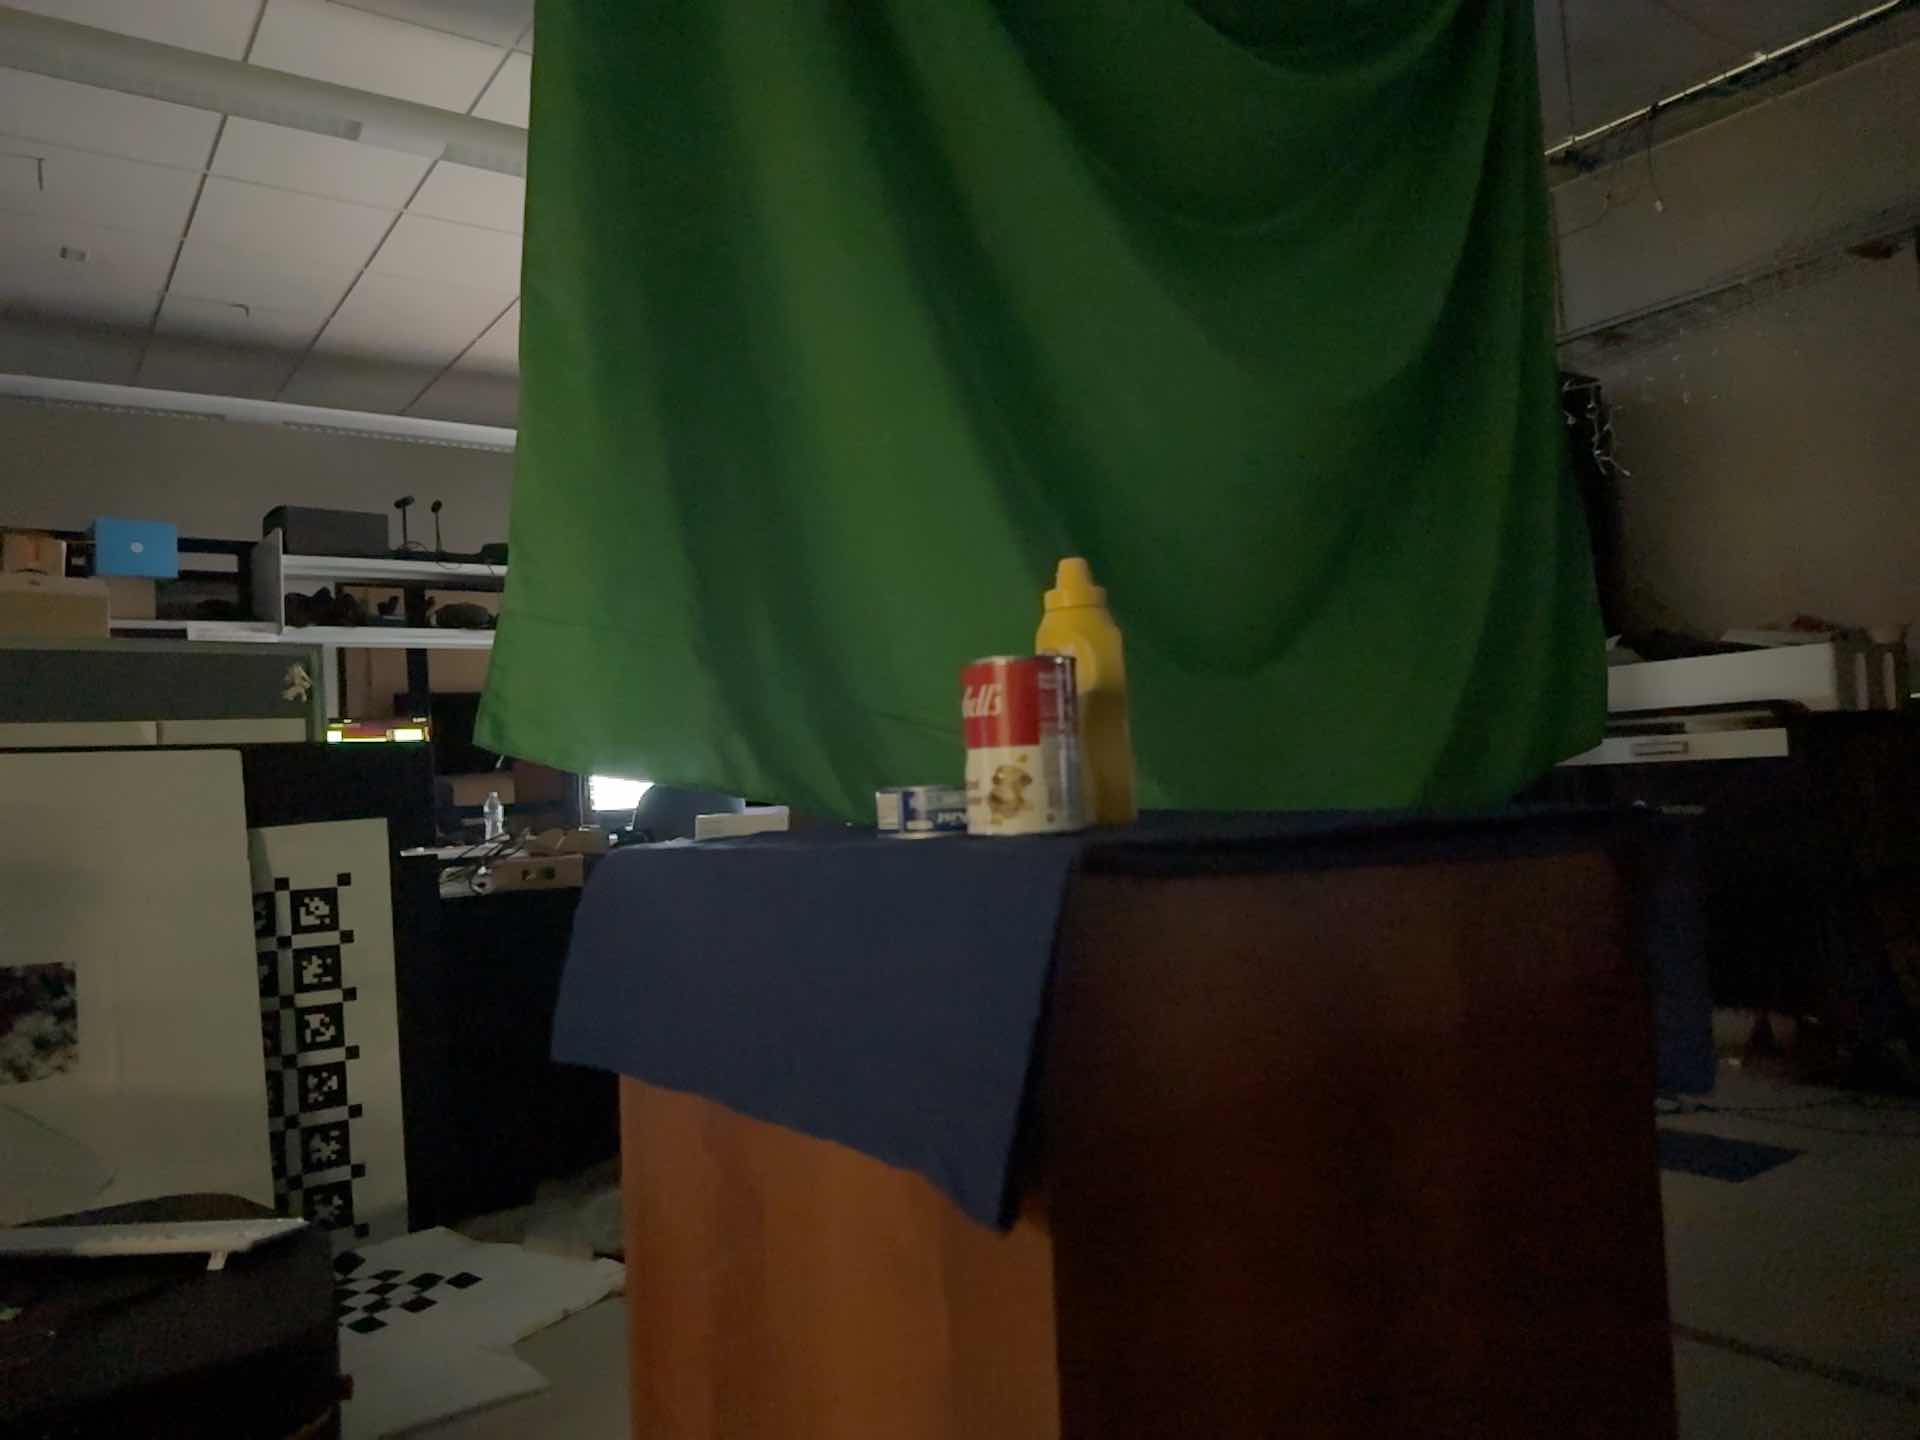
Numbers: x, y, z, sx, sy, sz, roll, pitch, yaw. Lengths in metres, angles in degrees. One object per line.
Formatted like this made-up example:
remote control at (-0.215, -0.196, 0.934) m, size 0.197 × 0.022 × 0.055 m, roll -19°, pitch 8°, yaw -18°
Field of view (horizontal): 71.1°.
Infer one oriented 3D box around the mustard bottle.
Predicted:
mustard bottle at (0.077, -0.010, 0.874) m, size 0.054 × 0.184 × 0.092 m, roll -6°, pitch 0°, yaw -20°

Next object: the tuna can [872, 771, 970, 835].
tuna can at (-0.014, 0.052, 0.868) m, size 0.083 × 0.034 × 0.083 m, roll -5°, pitch -1°, yaw 0°

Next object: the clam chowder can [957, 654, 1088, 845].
clam chowder can at (0.035, 0.016, 0.761) m, size 0.068 × 0.102 × 0.068 m, roll -5°, pitch 0°, yaw 0°
